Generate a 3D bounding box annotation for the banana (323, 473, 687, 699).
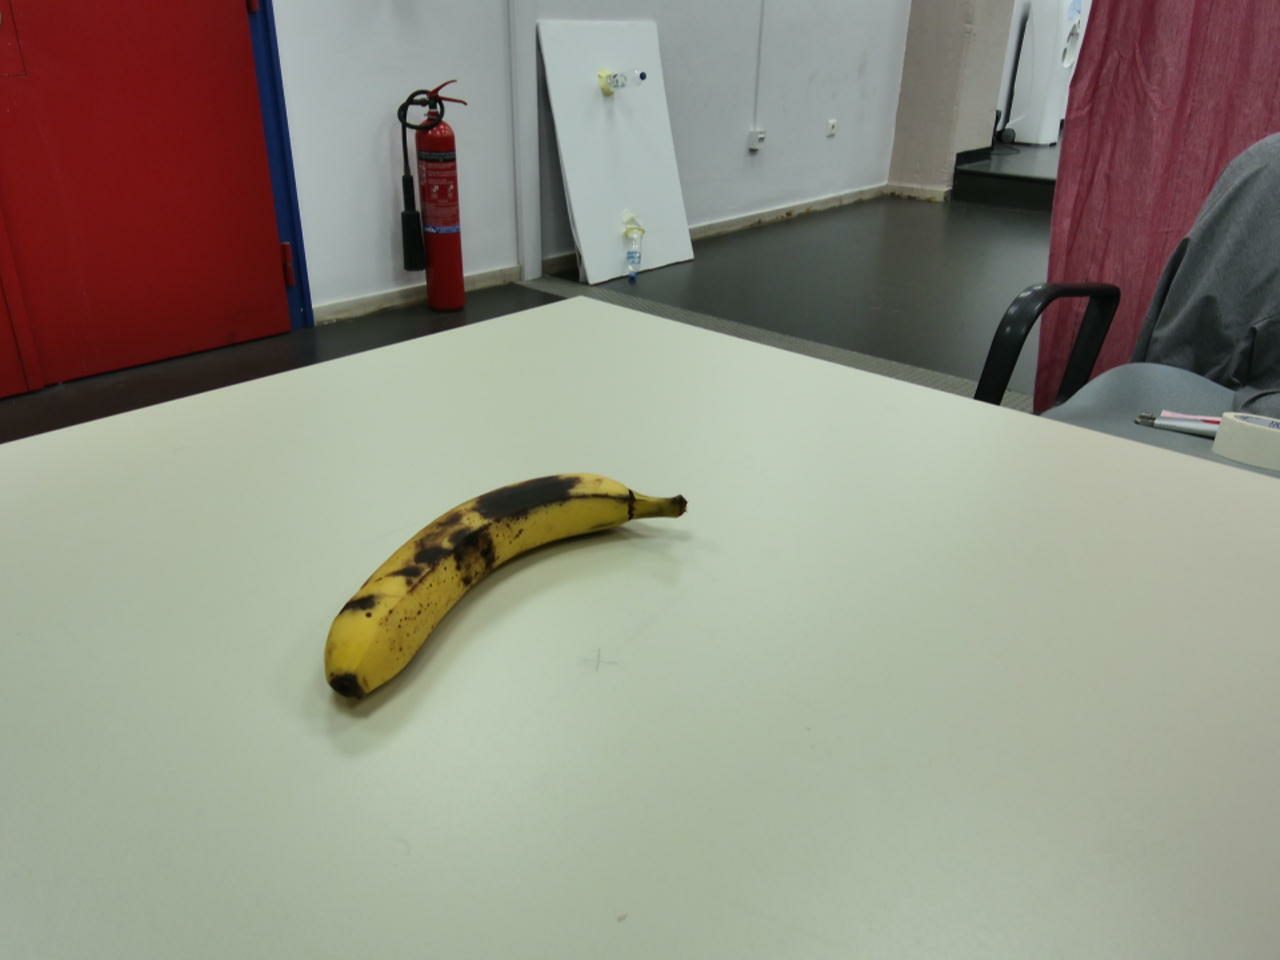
[{"bbox_3d":[-0.076,0.038,0.498,0.084,0.037,0.222,21,30,36],"label":"banana"}]
